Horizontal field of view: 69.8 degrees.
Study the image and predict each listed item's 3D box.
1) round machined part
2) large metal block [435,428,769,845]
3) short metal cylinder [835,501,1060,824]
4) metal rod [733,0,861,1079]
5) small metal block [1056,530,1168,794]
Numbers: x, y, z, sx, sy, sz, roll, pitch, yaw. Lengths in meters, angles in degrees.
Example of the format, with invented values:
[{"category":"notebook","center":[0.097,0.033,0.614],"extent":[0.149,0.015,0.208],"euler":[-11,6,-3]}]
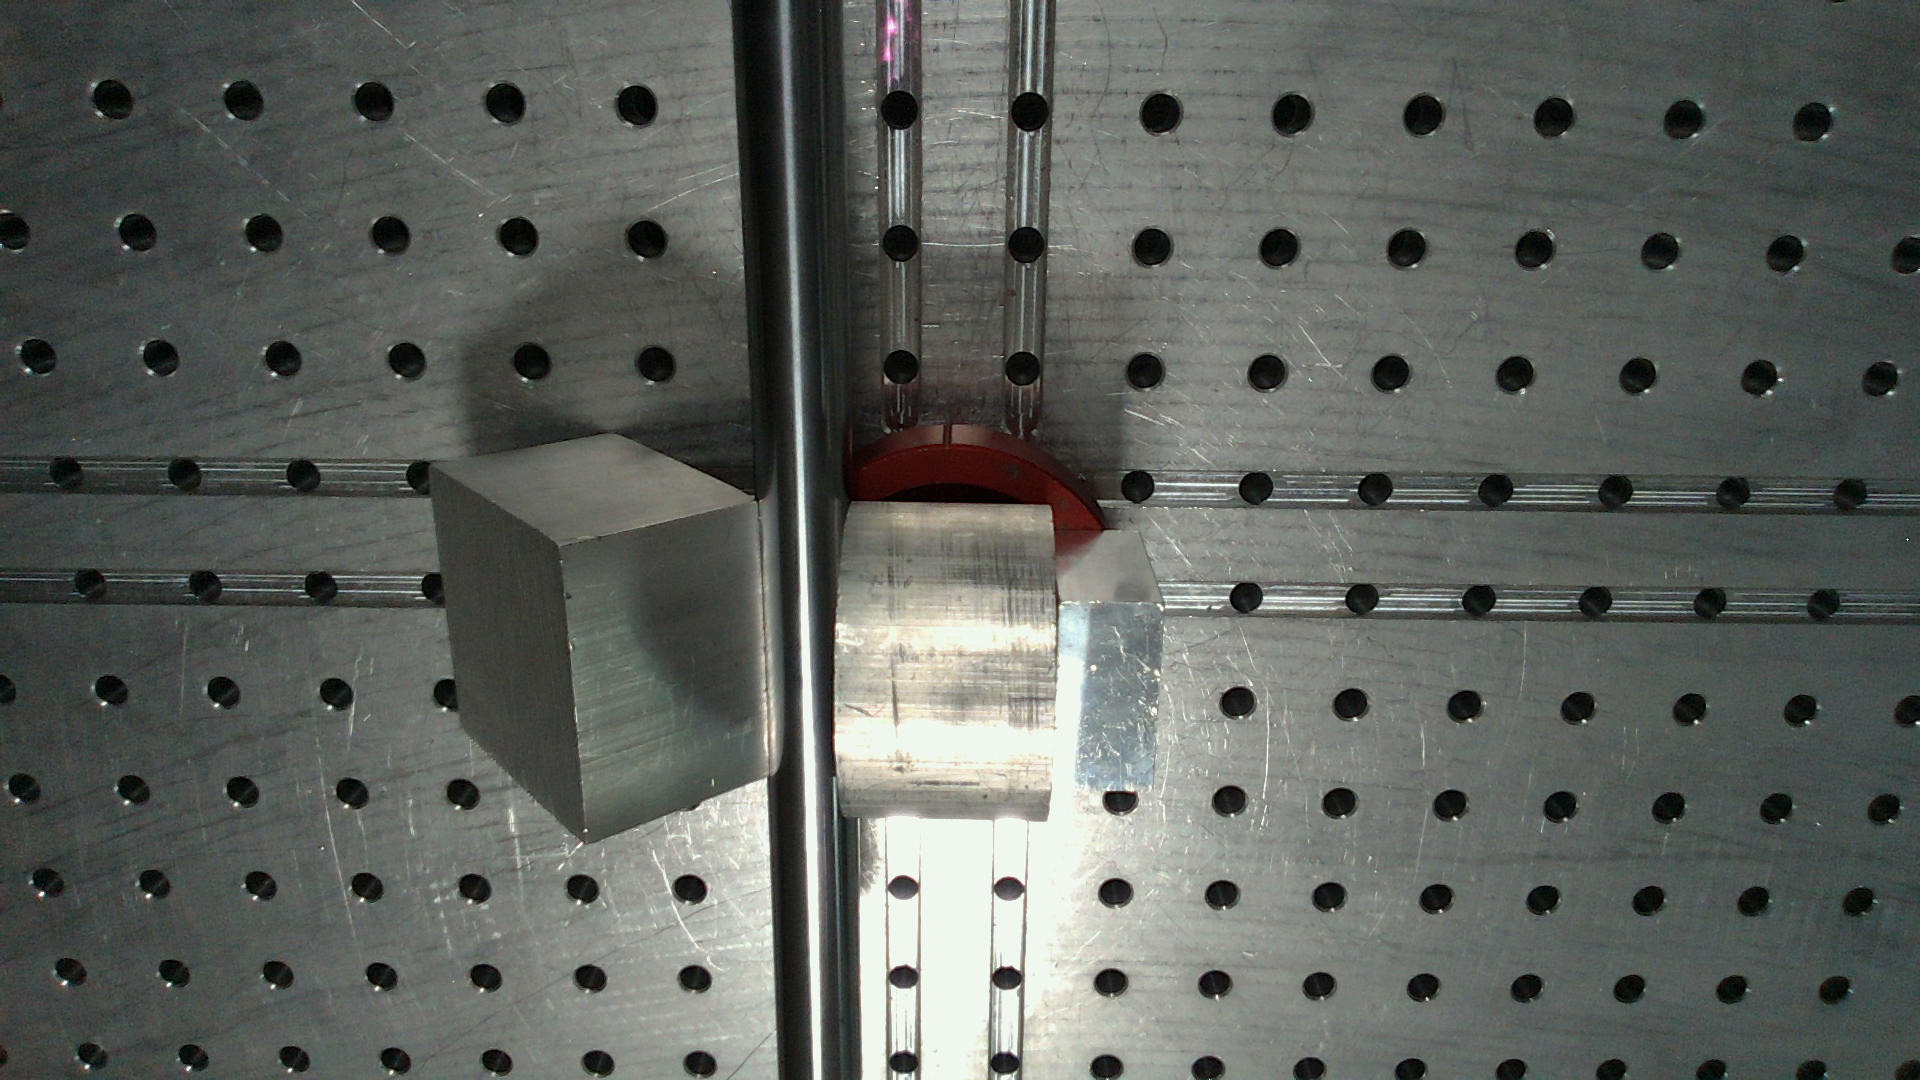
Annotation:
[{"category":"round machined part","center":[-0.002,0.014,0.391],"extent":[0.098,0.042,0.098],"euler":[0,110,0]},{"category":"large metal block","center":[-0.096,0.021,0.368],"extent":[0.050,0.080,0.080],"euler":[-16,116,-38]},{"category":"short metal cylinder","center":[-0.003,0.030,0.346],"extent":[0.050,0.080,0.080],"euler":[1,110,0]},{"category":"metal rod","center":[-0.040,0.018,0.359],"extent":[0.025,0.025,0.300],"euler":[1,110,0]},{"category":"small metal block","center":[0.035,0.029,0.349],"extent":[0.025,0.050,0.050],"euler":[1,110,0]}]
